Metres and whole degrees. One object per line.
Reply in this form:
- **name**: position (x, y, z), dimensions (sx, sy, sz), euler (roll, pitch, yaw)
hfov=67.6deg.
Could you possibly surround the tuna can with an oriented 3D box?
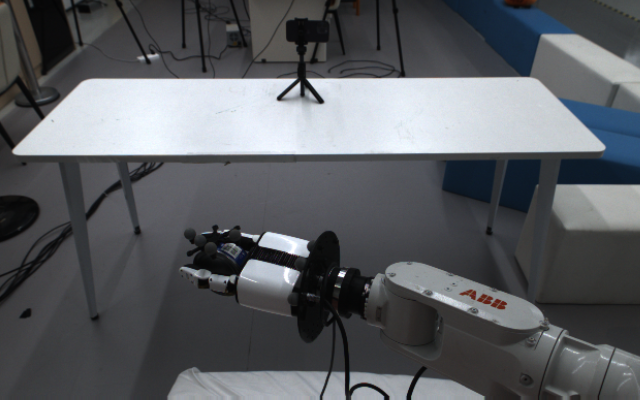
- **tuna can**: position (-0.143, 0.103, 0.728), dimensions (0.085, 0.085, 0.034), euler (14, 33, 16)
